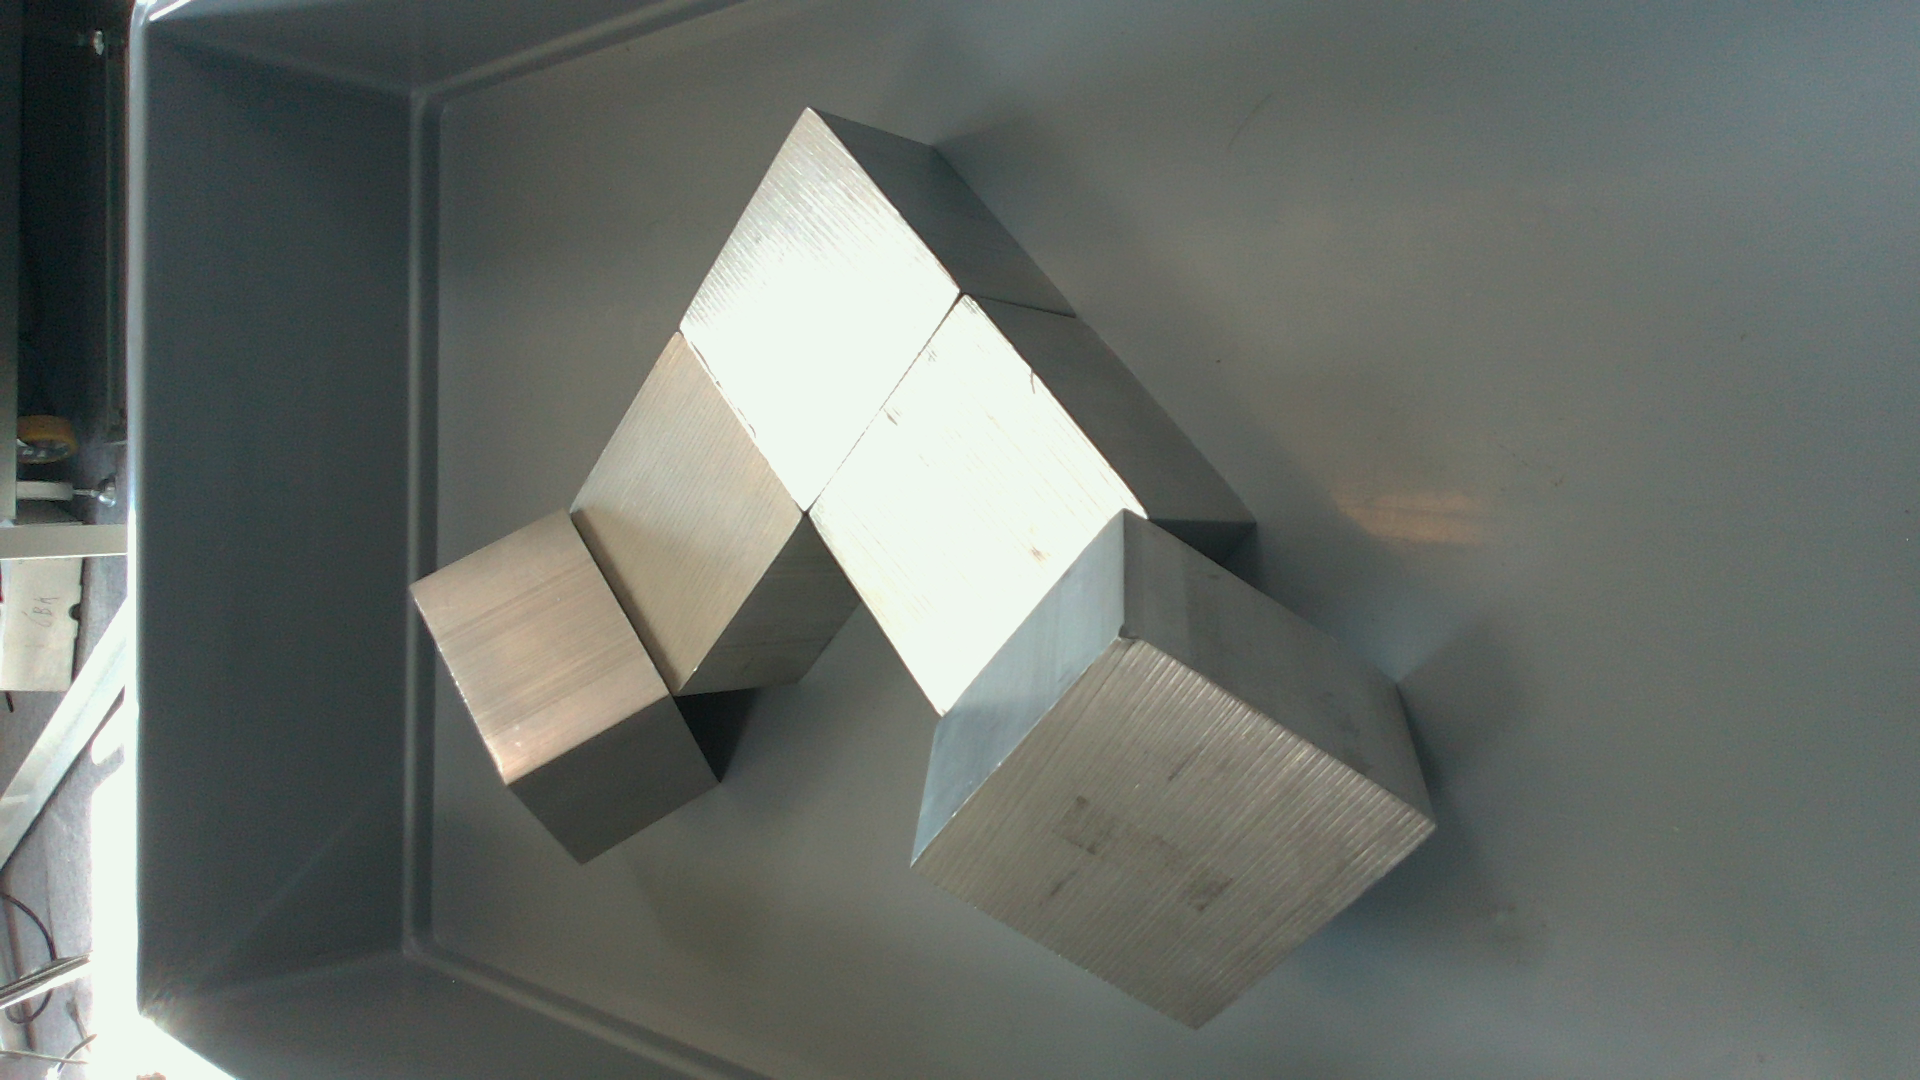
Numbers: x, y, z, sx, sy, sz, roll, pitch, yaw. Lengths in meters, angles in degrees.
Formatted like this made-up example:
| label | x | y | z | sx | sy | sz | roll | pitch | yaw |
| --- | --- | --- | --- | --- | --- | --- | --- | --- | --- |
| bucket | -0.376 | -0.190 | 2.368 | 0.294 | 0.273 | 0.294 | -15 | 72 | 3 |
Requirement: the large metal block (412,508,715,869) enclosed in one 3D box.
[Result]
| label | x | y | z | sx | sy | sz | roll | pitch | yaw |
| --- | --- | --- | --- | --- | --- | --- | --- | --- | --- |
| large metal block | -0.129 | 0.051 | 0.457 | 0.080 | 0.050 | 0.080 | 54 | 164 | 27 |

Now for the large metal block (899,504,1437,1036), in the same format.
| label | x | y | z | sx | sy | sz | roll | pitch | yaw |
| --- | --- | --- | --- | --- | --- | --- | --- | --- | --- |
| large metal block | 0.045 | 0.053 | 0.312 | 0.080 | 0.050 | 0.080 | 32 | 118 | -12 |

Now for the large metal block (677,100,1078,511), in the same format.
| label | x | y | z | sx | sy | sz | roll | pitch | yaw |
| --- | --- | --- | --- | --- | --- | --- | --- | --- | --- |
| large metal block | -0.026 | -0.065 | 0.399 | 0.080 | 0.050 | 0.080 | -52 | 60 | 28 |

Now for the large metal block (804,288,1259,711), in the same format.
| label | x | y | z | sx | sy | sz | roll | pitch | yaw |
| --- | --- | --- | --- | --- | --- | --- | --- | --- | --- |
| large metal block | 0.016 | -0.006 | 0.363 | 0.080 | 0.050 | 0.080 | -52 | 60 | 28 |

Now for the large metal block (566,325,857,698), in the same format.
| label | x | y | z | sx | sy | sz | roll | pitch | yaw |
| --- | --- | --- | --- | --- | --- | --- | --- | --- | --- |
| large metal block | -0.071 | -0.009 | 0.436 | 0.080 | 0.050 | 0.080 | -52 | 60 | 28 |
